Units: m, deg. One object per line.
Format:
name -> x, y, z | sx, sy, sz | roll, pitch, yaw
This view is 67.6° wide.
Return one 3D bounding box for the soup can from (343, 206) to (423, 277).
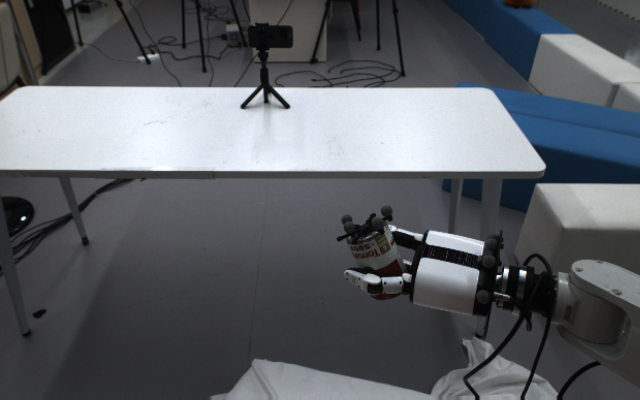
soup can -> 0.090, 0.089, 0.728 | 0.067, 0.101, 0.067 | -23, 16, 7
